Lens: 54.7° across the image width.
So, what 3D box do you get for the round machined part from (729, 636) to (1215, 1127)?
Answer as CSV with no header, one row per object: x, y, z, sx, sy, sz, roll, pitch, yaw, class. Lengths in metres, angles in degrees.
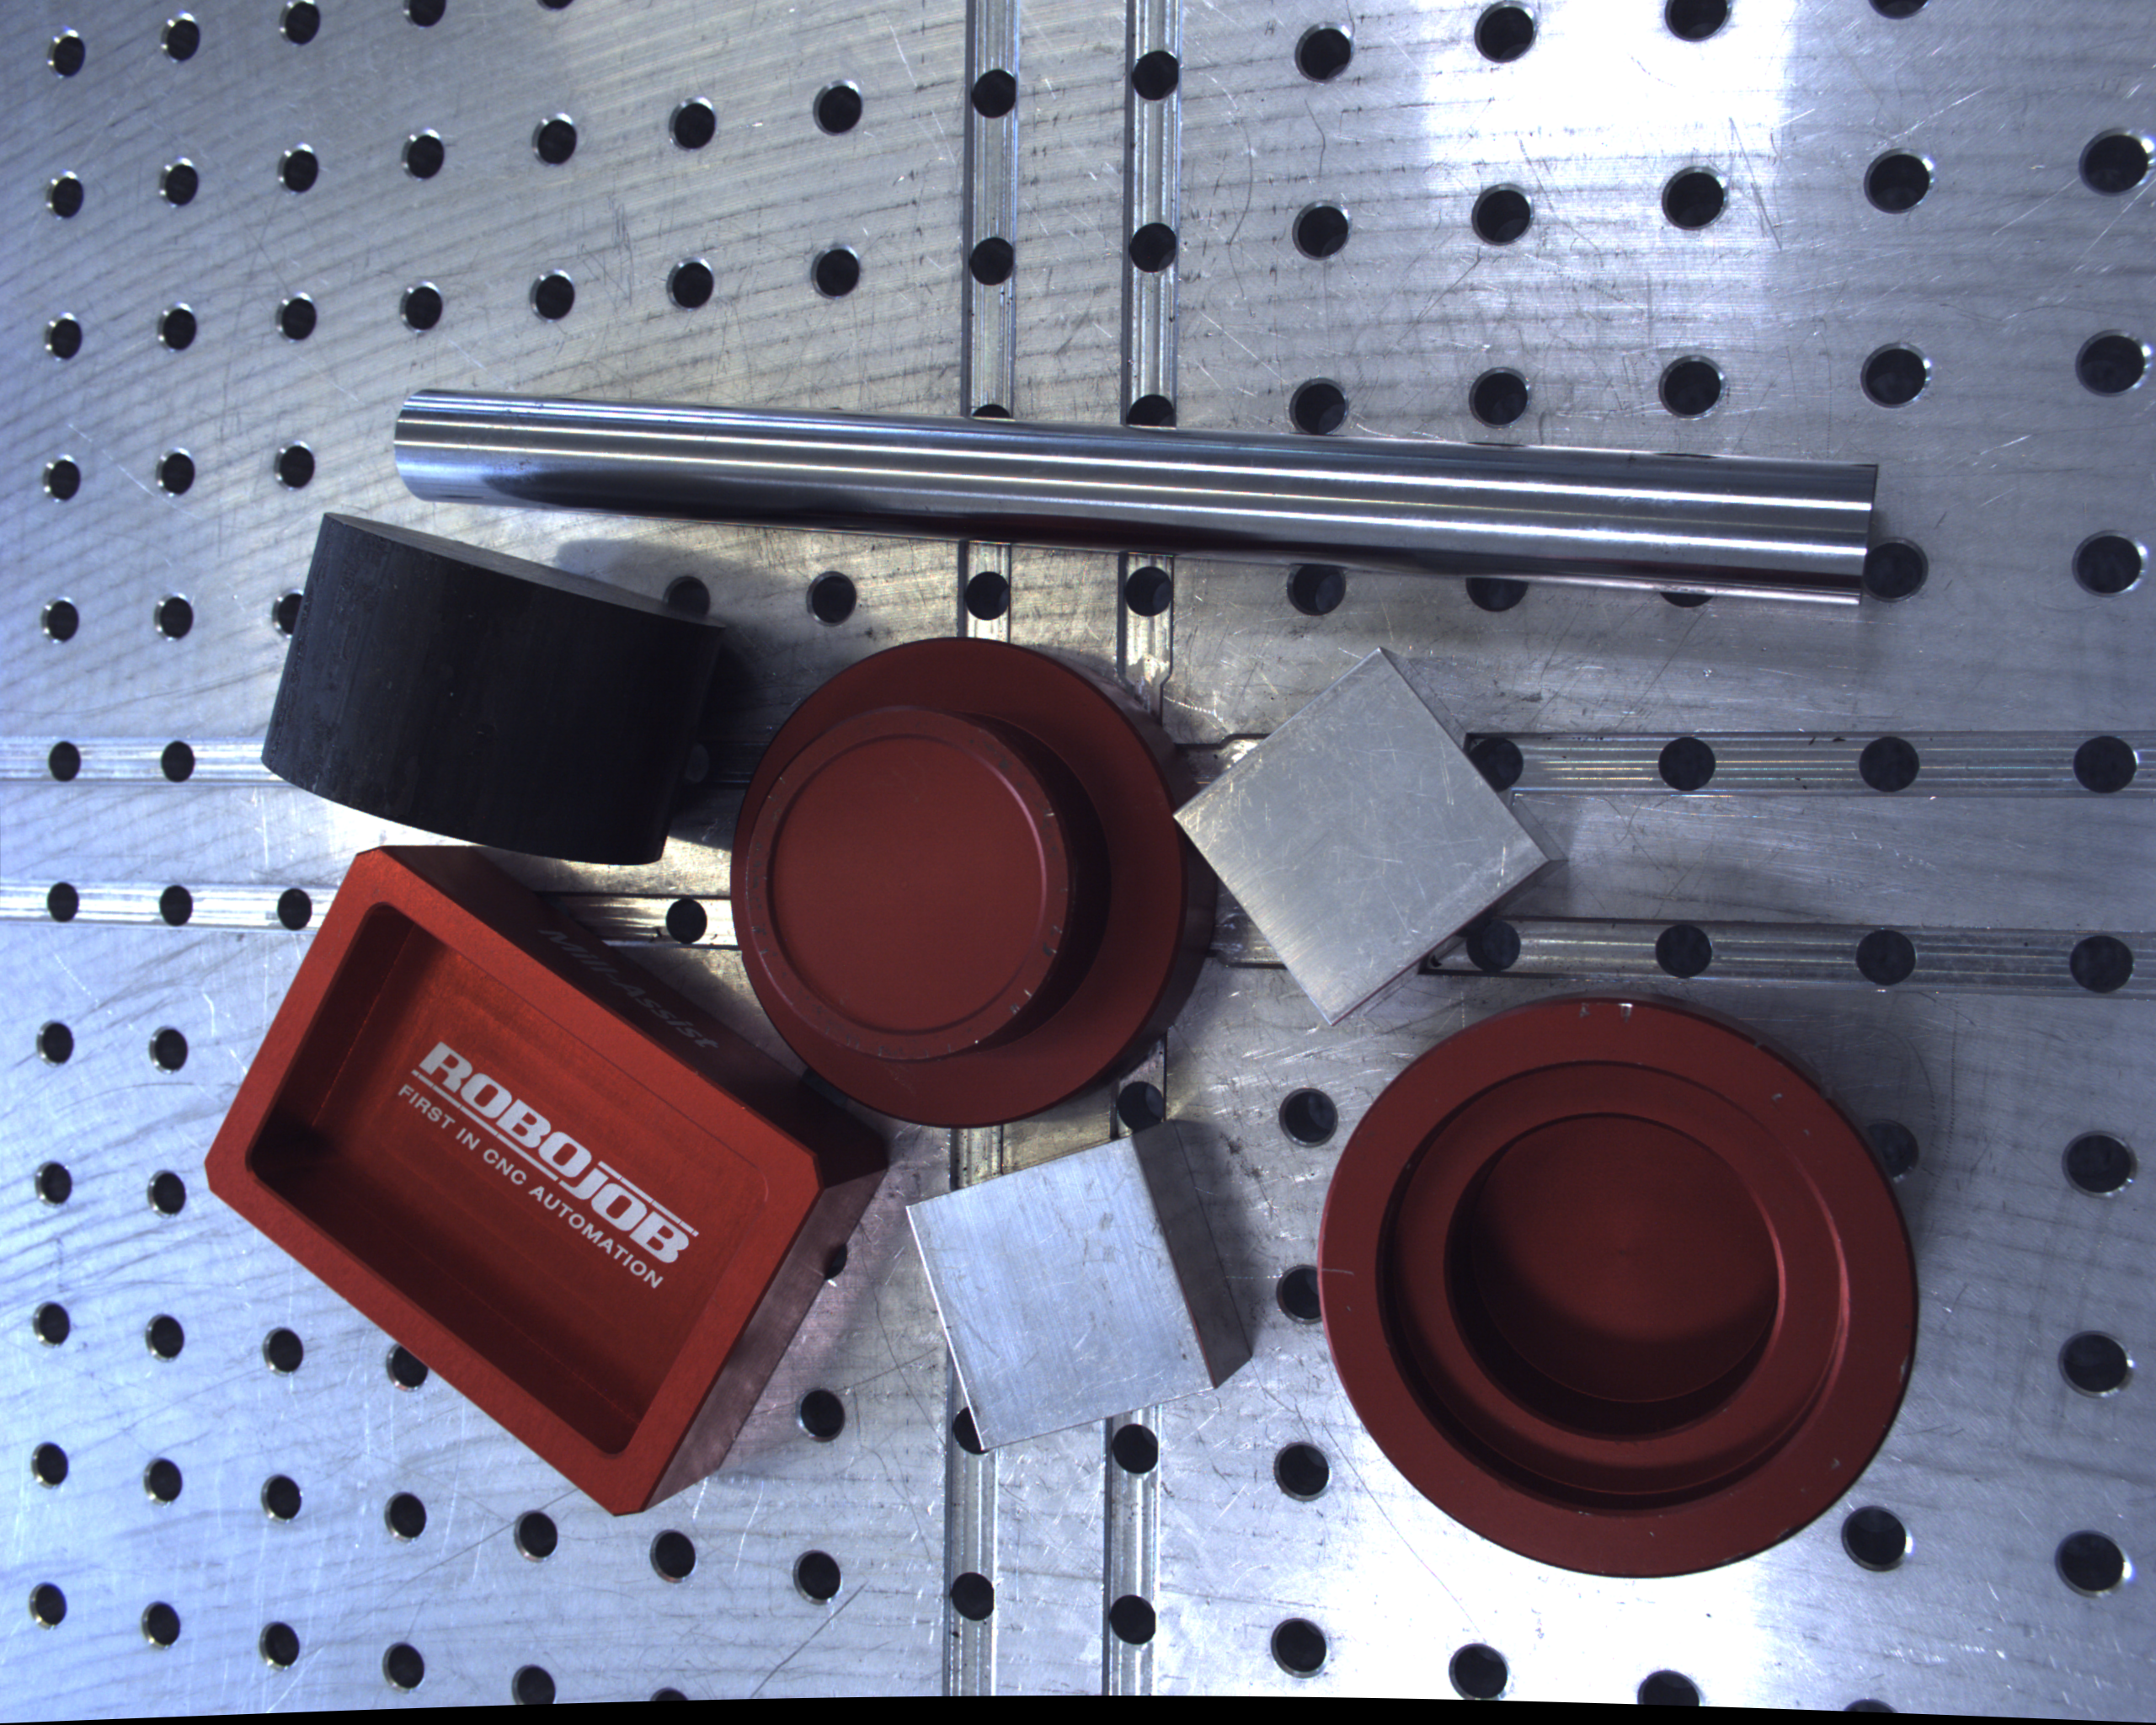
-0.026,0.003,0.412,0.098,0.042,0.097,-1,87,19,round machined part

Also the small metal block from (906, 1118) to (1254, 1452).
0.001,0.083,0.412,0.050,0.025,0.050,-20,83,18,small metal block

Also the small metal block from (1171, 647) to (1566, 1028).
0.055,-0.005,0.393,0.050,0.025,0.050,-40,78,15,small metal block

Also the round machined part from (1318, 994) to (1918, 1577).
0.095,0.071,0.370,0.098,0.042,0.097,0,90,20,round machined part

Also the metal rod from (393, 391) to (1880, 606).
-0.003,-0.075,0.413,0.301,0.025,0.025,7,93,19,metal rod

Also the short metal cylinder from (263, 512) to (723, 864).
-0.118,-0.036,0.425,0.080,0.080,0.050,19,96,19,short metal cylinder

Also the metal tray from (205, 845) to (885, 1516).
-0.117,0.065,0.451,0.130,0.030,0.090,32,101,17,metal tray
